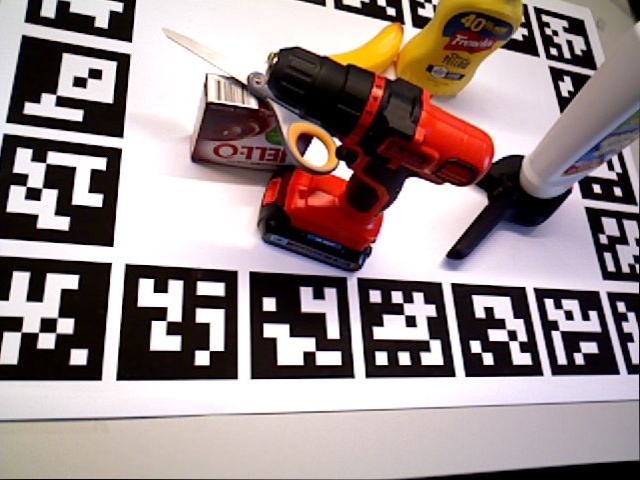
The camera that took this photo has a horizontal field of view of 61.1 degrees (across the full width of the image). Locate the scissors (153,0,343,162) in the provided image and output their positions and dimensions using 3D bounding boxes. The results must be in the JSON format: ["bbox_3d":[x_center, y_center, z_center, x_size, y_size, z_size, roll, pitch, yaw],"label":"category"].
[{"bbox_3d":[-0.053,-0.143,0.462,0.202,0.016,0.086,30,65,-13],"label":"scissors"}]

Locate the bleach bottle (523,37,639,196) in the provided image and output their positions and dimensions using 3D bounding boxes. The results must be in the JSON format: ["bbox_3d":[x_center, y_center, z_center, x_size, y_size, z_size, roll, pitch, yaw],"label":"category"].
[{"bbox_3d":[0.291,-0.116,0.552,0.101,0.256,0.067,-16,71,-20],"label":"bleach bottle"}]

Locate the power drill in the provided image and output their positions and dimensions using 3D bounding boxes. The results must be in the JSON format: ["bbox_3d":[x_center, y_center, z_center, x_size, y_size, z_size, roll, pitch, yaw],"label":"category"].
[{"bbox_3d":[0.020,-0.058,0.442,0.183,0.191,0.056,16,56,-12],"label":"power drill"}]

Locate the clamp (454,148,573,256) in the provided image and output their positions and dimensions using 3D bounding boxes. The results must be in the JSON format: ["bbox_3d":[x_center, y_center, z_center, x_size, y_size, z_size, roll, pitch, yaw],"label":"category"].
[{"bbox_3d":[0.222,-0.064,0.627,0.200,0.037,0.164,-2,72,-24],"label":"clamp"}]

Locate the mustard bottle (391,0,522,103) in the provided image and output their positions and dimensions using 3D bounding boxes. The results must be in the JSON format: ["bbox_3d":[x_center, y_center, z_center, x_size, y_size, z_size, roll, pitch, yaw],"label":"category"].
[{"bbox_3d":[0.165,-0.236,0.607,0.095,0.196,0.057,19,62,-15],"label":"mustard bottle"}]

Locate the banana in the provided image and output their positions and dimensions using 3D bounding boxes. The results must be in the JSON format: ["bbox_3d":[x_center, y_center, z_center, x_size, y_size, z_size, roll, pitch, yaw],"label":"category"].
[{"bbox_3d":[0.041,-0.233,0.634,0.074,0.040,0.193,41,59,18],"label":"banana"}]

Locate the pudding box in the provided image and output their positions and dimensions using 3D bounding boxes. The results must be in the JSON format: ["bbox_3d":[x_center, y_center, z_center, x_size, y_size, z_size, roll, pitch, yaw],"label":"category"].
[{"bbox_3d":[-0.067,-0.111,0.519,0.112,0.092,0.038,9,58,-19],"label":"pudding box"}]
